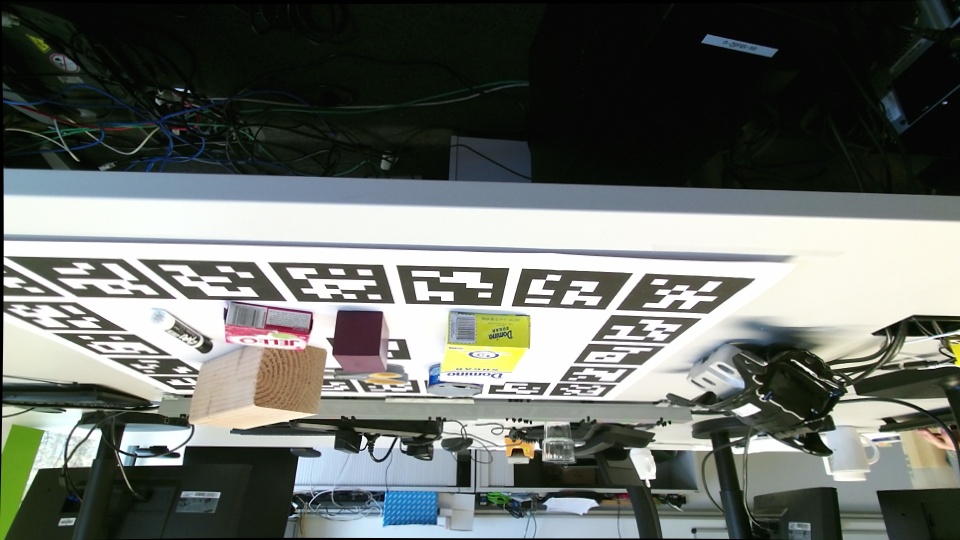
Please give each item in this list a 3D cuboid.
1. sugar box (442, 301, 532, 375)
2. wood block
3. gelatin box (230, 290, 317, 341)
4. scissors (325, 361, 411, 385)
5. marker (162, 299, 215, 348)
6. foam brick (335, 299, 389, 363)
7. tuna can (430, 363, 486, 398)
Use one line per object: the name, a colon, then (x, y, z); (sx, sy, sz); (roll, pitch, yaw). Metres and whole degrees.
sugar box: (0.002, 0.093, 0.684); (0.093, 0.045, 0.176); (4, 151, -7)
wood block: (-0.321, 0.157, 0.758); (0.206, 0.090, 0.090); (-23, 145, 37)
gelatin box: (-0.240, 0.053, 0.620); (0.090, 0.030, 0.073); (10, 149, -20)
scissors: (-0.208, 0.160, 0.836); (0.204, 0.016, 0.088); (3, 152, -11)
marker: (-0.351, 0.066, 0.651); (0.020, 0.019, 0.121); (2, 150, -4)
foam brick: (-0.136, 0.072, 0.627); (0.053, 0.051, 0.078); (2, 151, -5)
tuna can: (-0.034, 0.171, 0.832); (0.086, 0.033, 0.086); (0, 151, 0)
